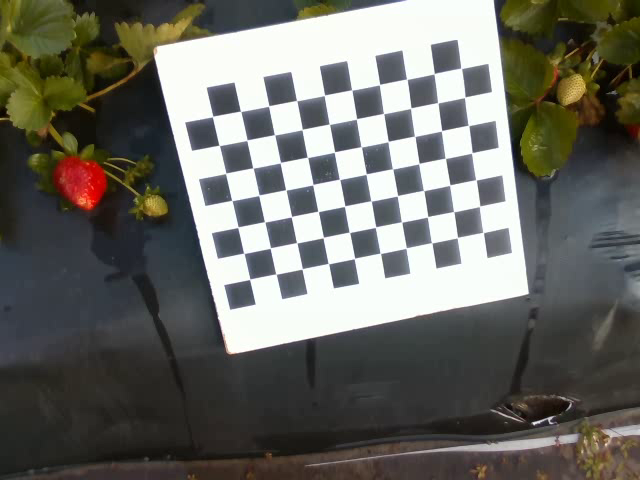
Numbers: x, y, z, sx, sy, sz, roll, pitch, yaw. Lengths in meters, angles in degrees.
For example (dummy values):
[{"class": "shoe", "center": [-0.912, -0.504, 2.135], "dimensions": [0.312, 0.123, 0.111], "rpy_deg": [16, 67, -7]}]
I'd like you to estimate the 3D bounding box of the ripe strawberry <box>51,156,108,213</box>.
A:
[{"class": "ripe strawberry", "center": [-0.204, -0.044, 0.511], "dimensions": [0.052, 0.043, 0.057], "rpy_deg": [49, 8, -41]}]
